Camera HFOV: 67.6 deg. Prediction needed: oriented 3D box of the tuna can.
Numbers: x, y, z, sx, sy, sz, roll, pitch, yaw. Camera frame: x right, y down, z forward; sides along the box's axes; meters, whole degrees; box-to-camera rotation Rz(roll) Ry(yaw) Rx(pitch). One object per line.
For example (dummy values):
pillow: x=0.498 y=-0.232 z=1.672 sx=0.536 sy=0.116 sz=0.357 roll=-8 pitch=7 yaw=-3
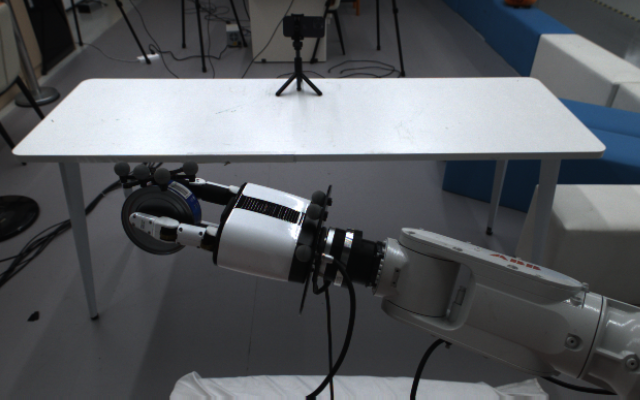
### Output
tuna can: x=-0.180 y=0.021 z=0.569 sx=0.085 sy=0.085 sz=0.034 roll=4 pitch=17 yaw=3
